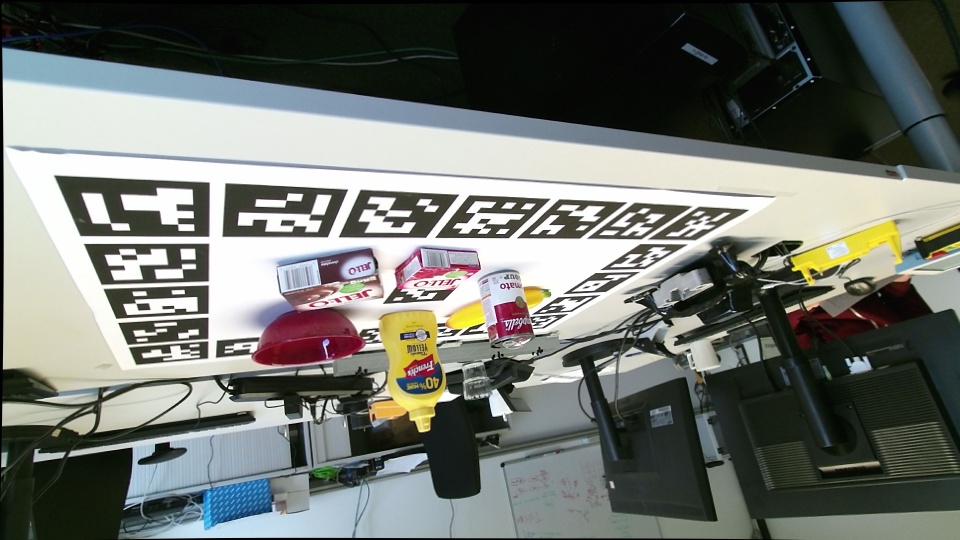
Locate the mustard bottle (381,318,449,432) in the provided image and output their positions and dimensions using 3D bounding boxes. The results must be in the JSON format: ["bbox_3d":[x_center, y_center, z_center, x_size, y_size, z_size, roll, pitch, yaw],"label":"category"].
[{"bbox_3d":[-0.100,0.176,0.868,0.096,0.190,0.058,-1,159,-28],"label":"mustard bottle"}]

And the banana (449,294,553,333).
[{"bbox_3d":[0.028,0.077,0.936,0.198,0.038,0.074,-19,169,16],"label":"banana"}]

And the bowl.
[{"bbox_3d":[-0.261,0.099,0.802,0.162,0.055,0.162,-12,161,-4],"label":"bowl"}]

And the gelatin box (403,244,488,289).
[{"bbox_3d":[-0.044,-0.002,0.698,0.090,0.030,0.073,1,152,-35],"label":"gelatin box"}]

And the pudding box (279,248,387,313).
[{"bbox_3d":[-0.175,0.016,0.655,0.114,0.038,0.090,-11,154,-6],"label":"pudding box"}]

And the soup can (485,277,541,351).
[{"bbox_3d":[0.048,0.069,0.811,0.068,0.101,0.068,-9,160,-3],"label":"soup can"}]
